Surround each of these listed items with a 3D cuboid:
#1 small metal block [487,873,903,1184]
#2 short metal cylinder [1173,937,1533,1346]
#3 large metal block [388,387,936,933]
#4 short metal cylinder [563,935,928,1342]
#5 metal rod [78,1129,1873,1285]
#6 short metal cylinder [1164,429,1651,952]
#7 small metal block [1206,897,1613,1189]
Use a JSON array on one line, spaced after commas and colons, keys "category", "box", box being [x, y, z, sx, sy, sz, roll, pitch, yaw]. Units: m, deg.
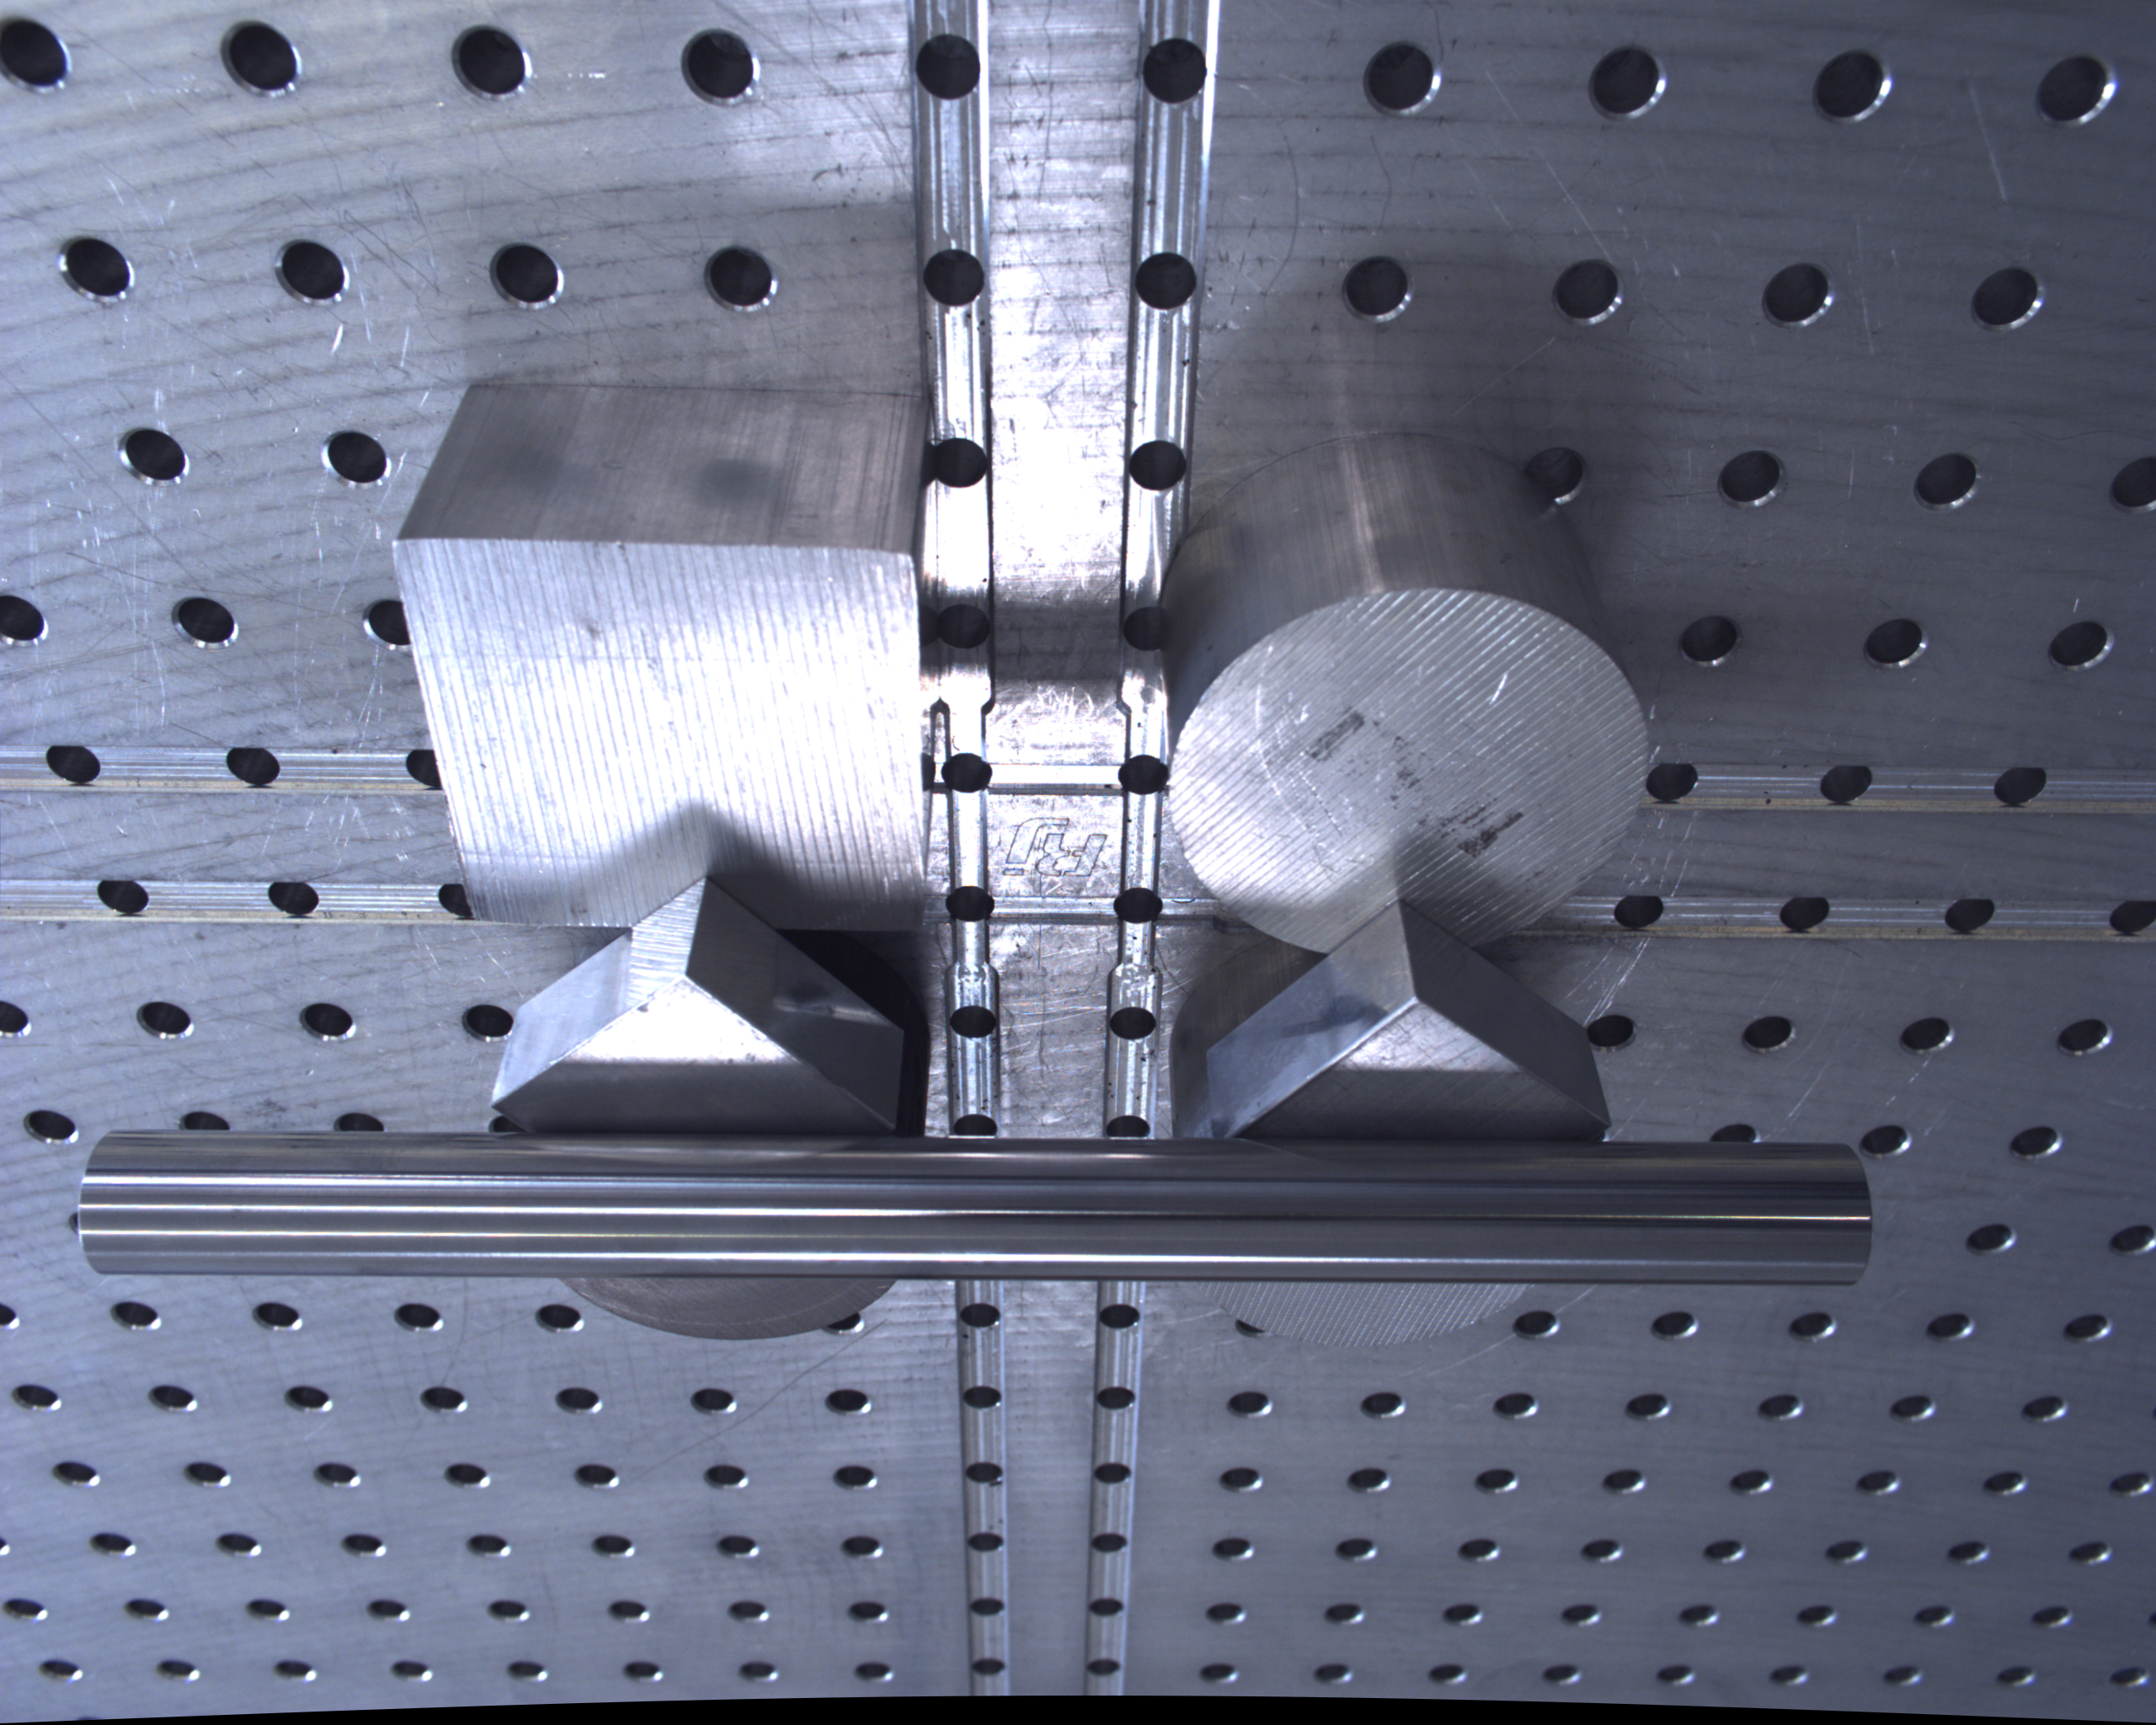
[{"category": "small metal block", "box": [-0.068, 0.037, 0.377, 0.050, 0.025, 0.050, -33, 123, 24]}, {"category": "short metal cylinder", "box": [0.061, 0.059, 0.446, 0.081, 0.050, 0.079, 0, 130, 0]}, {"category": "large metal block", "box": [-0.066, -0.034, 0.364, 0.081, 0.050, 0.079, 1, 130, -1]}, {"category": "short metal cylinder", "box": [-0.073, 0.057, 0.442, 0.081, 0.050, 0.079, 0, 130, 0]}, {"category": "metal rod", "box": [-0.016, 0.060, 0.363, 0.302, 0.025, 0.025, 1, 130, -1]}, {"category": "short metal cylinder", "box": [0.056, -0.029, 0.371, 0.081, 0.050, 0.079, 0, 130, 0]}, {"category": "small metal block", "box": [0.060, 0.041, 0.381, 0.050, 0.025, 0.050, 33, 123, -25]}]
